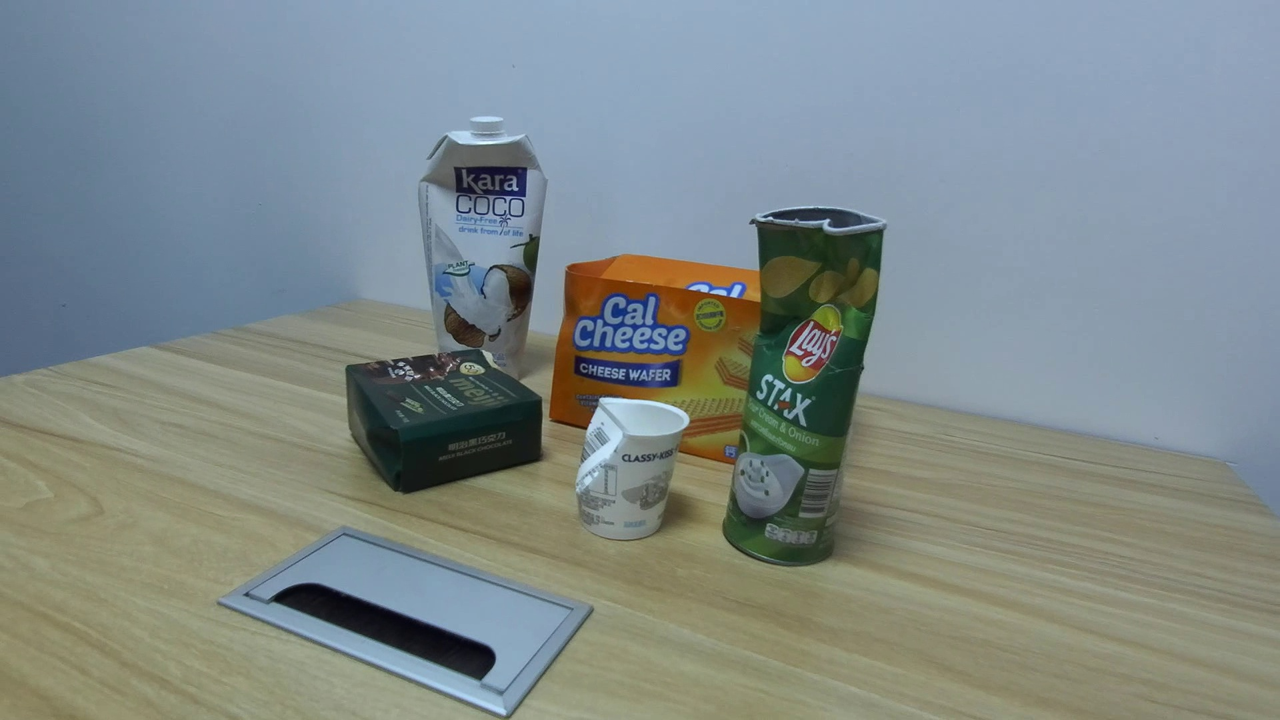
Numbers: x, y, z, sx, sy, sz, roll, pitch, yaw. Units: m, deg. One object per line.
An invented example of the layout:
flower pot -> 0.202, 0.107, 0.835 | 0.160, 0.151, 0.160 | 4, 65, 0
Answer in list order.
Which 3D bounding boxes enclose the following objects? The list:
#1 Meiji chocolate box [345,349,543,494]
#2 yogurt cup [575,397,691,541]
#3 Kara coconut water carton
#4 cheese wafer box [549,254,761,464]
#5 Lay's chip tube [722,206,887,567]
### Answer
Meiji chocolate box -> -0.143, 0.041, 0.516 | 0.123, 0.058, 0.115 | -9, 25, -36
yogurt cup -> -0.006, 0.066, 0.431 | 0.067, 0.070, 0.067 | 4, 16, -1
Kara coconut water carton -> -0.147, -0.100, 0.655 | 0.115, 0.238, 0.069 | 1, 20, -12
cheese wafer box -> 0.052, -0.005, 0.589 | 0.230, 0.132, 0.152 | 11, 18, 20
Lay's chip tube -> 0.092, 0.014, 0.405 | 0.077, 0.201, 0.069 | 10, 18, 23
